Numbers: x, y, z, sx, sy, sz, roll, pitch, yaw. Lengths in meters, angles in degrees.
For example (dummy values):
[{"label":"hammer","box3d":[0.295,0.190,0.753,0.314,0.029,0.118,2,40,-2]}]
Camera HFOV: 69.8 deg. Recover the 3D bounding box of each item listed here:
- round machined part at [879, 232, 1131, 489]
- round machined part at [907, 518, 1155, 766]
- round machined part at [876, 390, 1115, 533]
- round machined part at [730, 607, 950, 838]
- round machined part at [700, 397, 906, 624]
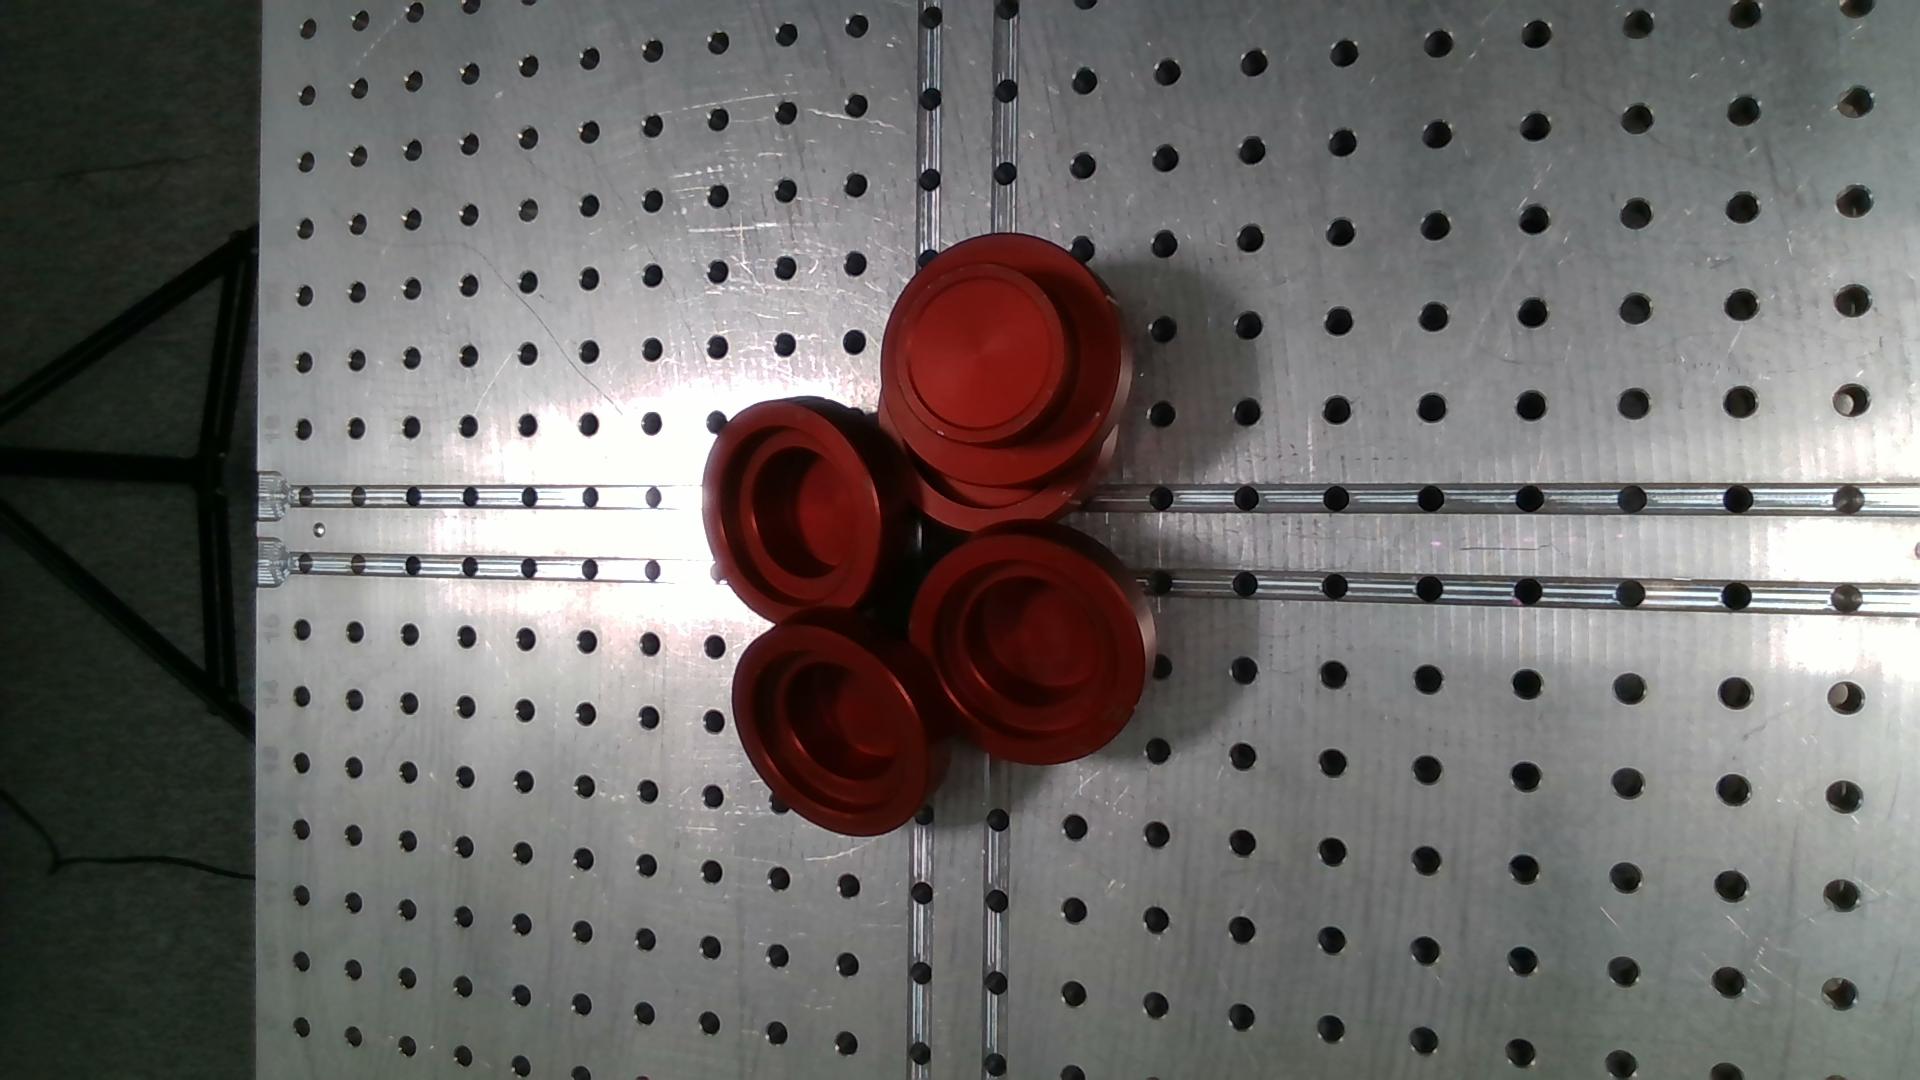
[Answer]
[{"label":"round machined part","box3d":[0.014,-0.069,0.528,0.098,0.042,0.098,0,91,20]},{"label":"round machined part","box3d":[0.031,0.038,0.558,0.098,0.042,0.098,6,109,19]},{"label":"round machined part","box3d":[0.018,-0.051,0.571,0.098,0.042,0.098,0,91,20]},{"label":"round machined part","box3d":[-0.046,0.073,0.584,0.098,0.042,0.098,13,117,26]},{"label":"round machined part","box3d":[-0.062,-0.014,0.592,0.098,0.042,0.098,8,105,33]}]
